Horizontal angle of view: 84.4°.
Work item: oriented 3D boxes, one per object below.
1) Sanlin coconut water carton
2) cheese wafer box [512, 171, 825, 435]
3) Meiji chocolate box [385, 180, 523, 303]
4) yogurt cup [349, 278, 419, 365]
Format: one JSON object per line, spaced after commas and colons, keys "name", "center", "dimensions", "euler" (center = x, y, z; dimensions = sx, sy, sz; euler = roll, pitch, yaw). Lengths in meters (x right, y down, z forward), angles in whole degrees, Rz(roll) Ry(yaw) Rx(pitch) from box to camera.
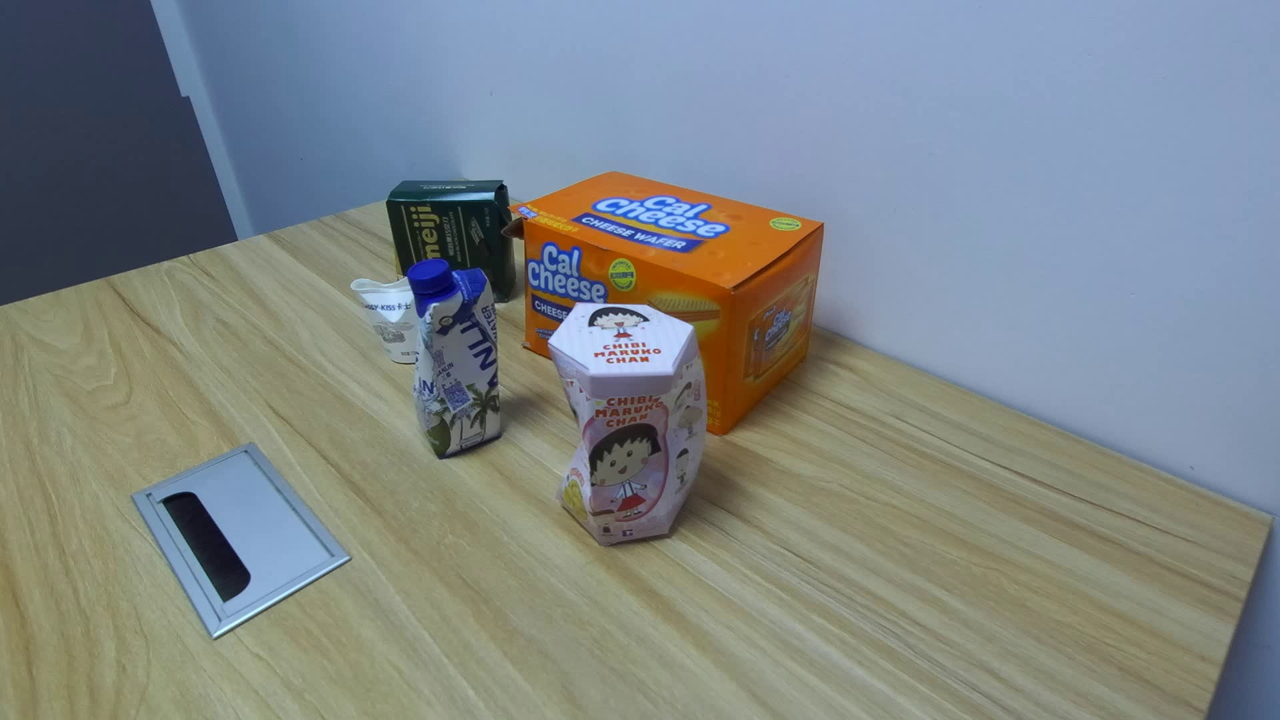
{"name": "Sanlin coconut water carton", "center": [-0.129, -0.003, 0.509], "dimensions": [0.069, 0.144, 0.056], "euler": [-12, 40, -31]}
{"name": "cheese wafer box", "center": [0.018, -0.063, 0.599], "dimensions": [0.226, 0.137, 0.150], "euler": [23, 40, 30]}
{"name": "Meiji chocolate box", "center": [-0.185, -0.120, 0.709], "dimensions": [0.122, 0.116, 0.058], "euler": [3, 32, 4]}
{"name": "yogurt cup", "center": [-0.212, -0.046, 0.646], "dimensions": [0.075, 0.071, 0.053], "euler": [-27, 49, -26]}
